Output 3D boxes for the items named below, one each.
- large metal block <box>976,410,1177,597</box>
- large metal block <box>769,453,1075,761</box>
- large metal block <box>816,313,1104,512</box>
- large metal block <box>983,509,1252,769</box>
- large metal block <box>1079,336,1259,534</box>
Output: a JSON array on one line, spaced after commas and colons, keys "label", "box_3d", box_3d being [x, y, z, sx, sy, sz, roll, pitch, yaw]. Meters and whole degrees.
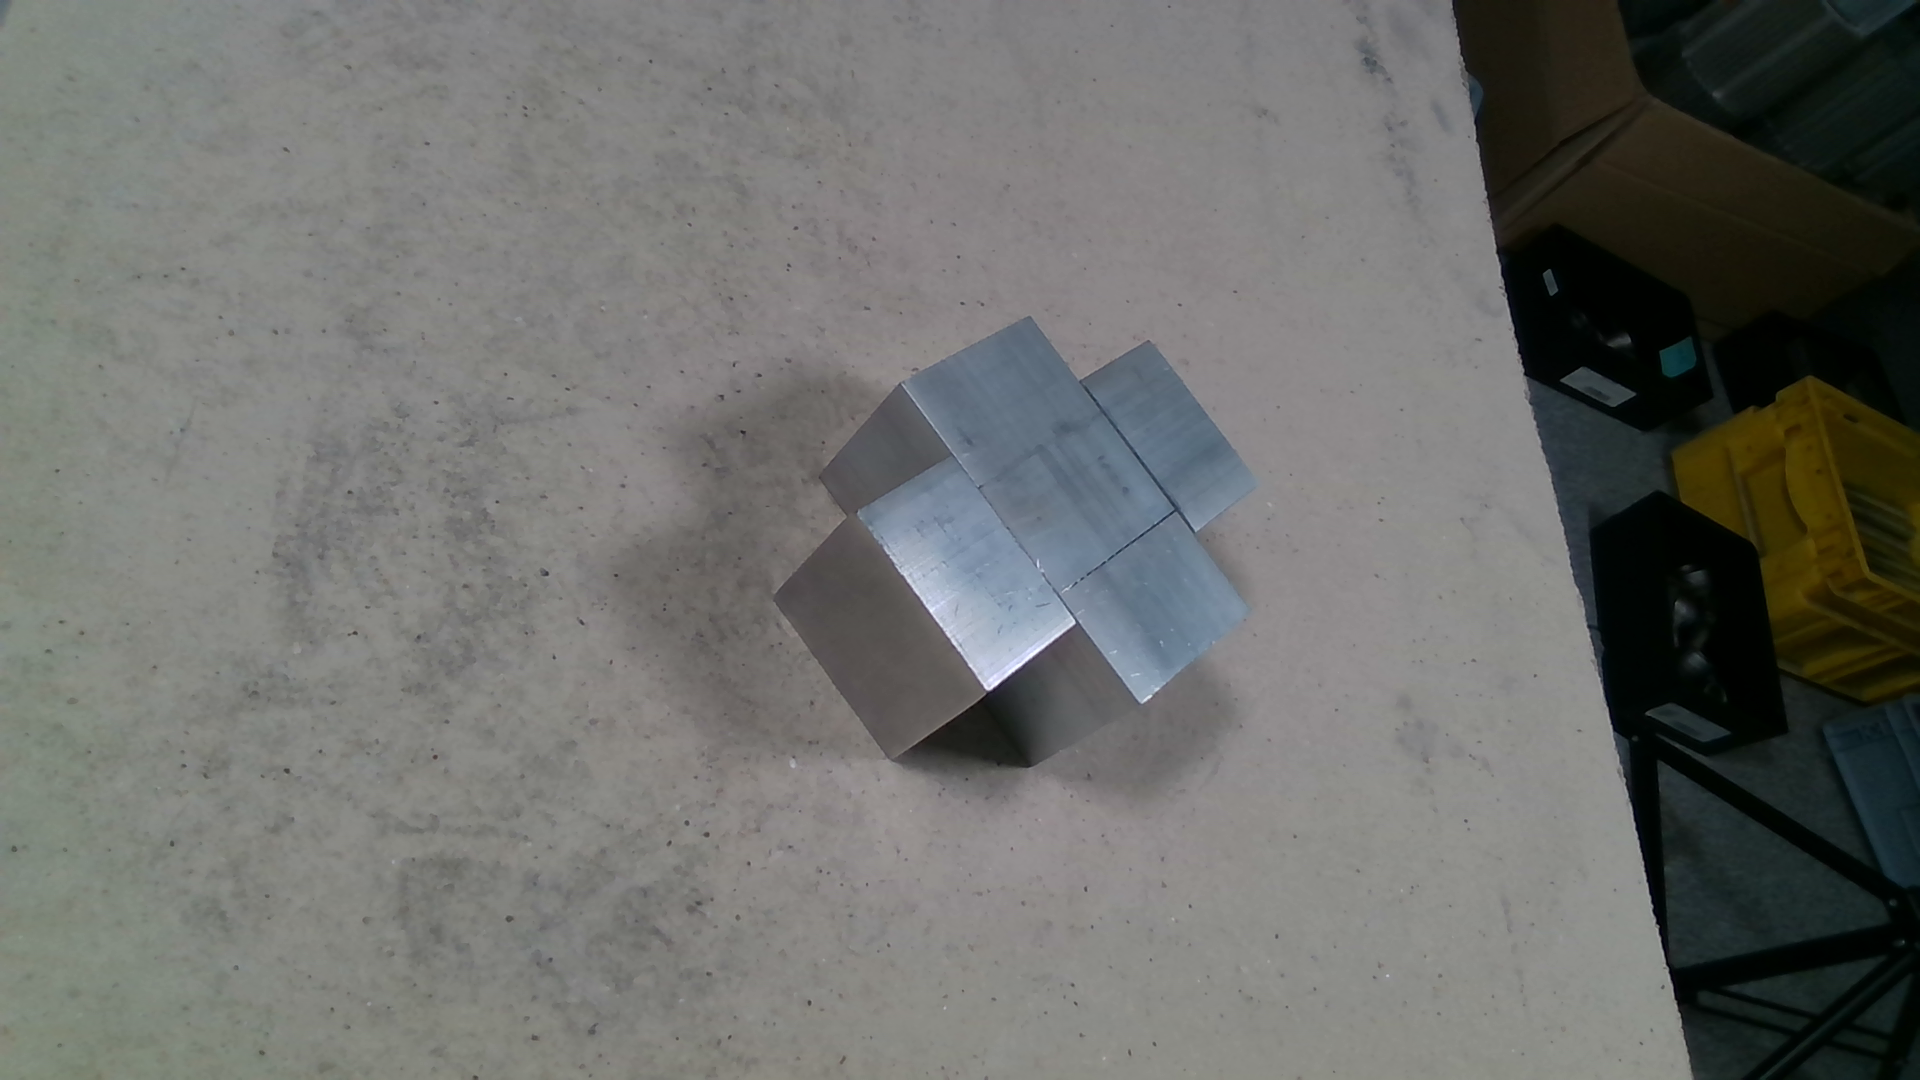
[{"label": "large metal block", "box_3d": [0.029, 0.001, 0.569, 0.080, 0.080, 0.050, -33, 85, -39]}, {"label": "large metal block", "box_3d": [-0.016, 0.027, 0.527, 0.050, 0.080, 0.080, -33, 85, -39]}, {"label": "large metal block", "box_3d": [-0.001, -0.040, 0.572, 0.080, 0.080, 0.050, -33, 85, -39]}, {"label": "large metal block", "box_3d": [0.059, 0.041, 0.565, 0.080, 0.080, 0.050, -33, 85, -39]}, {"label": "large metal block", "box_3d": [0.070, -0.029, 0.610, 0.050, 0.080, 0.080, -33, 85, -39]}]
